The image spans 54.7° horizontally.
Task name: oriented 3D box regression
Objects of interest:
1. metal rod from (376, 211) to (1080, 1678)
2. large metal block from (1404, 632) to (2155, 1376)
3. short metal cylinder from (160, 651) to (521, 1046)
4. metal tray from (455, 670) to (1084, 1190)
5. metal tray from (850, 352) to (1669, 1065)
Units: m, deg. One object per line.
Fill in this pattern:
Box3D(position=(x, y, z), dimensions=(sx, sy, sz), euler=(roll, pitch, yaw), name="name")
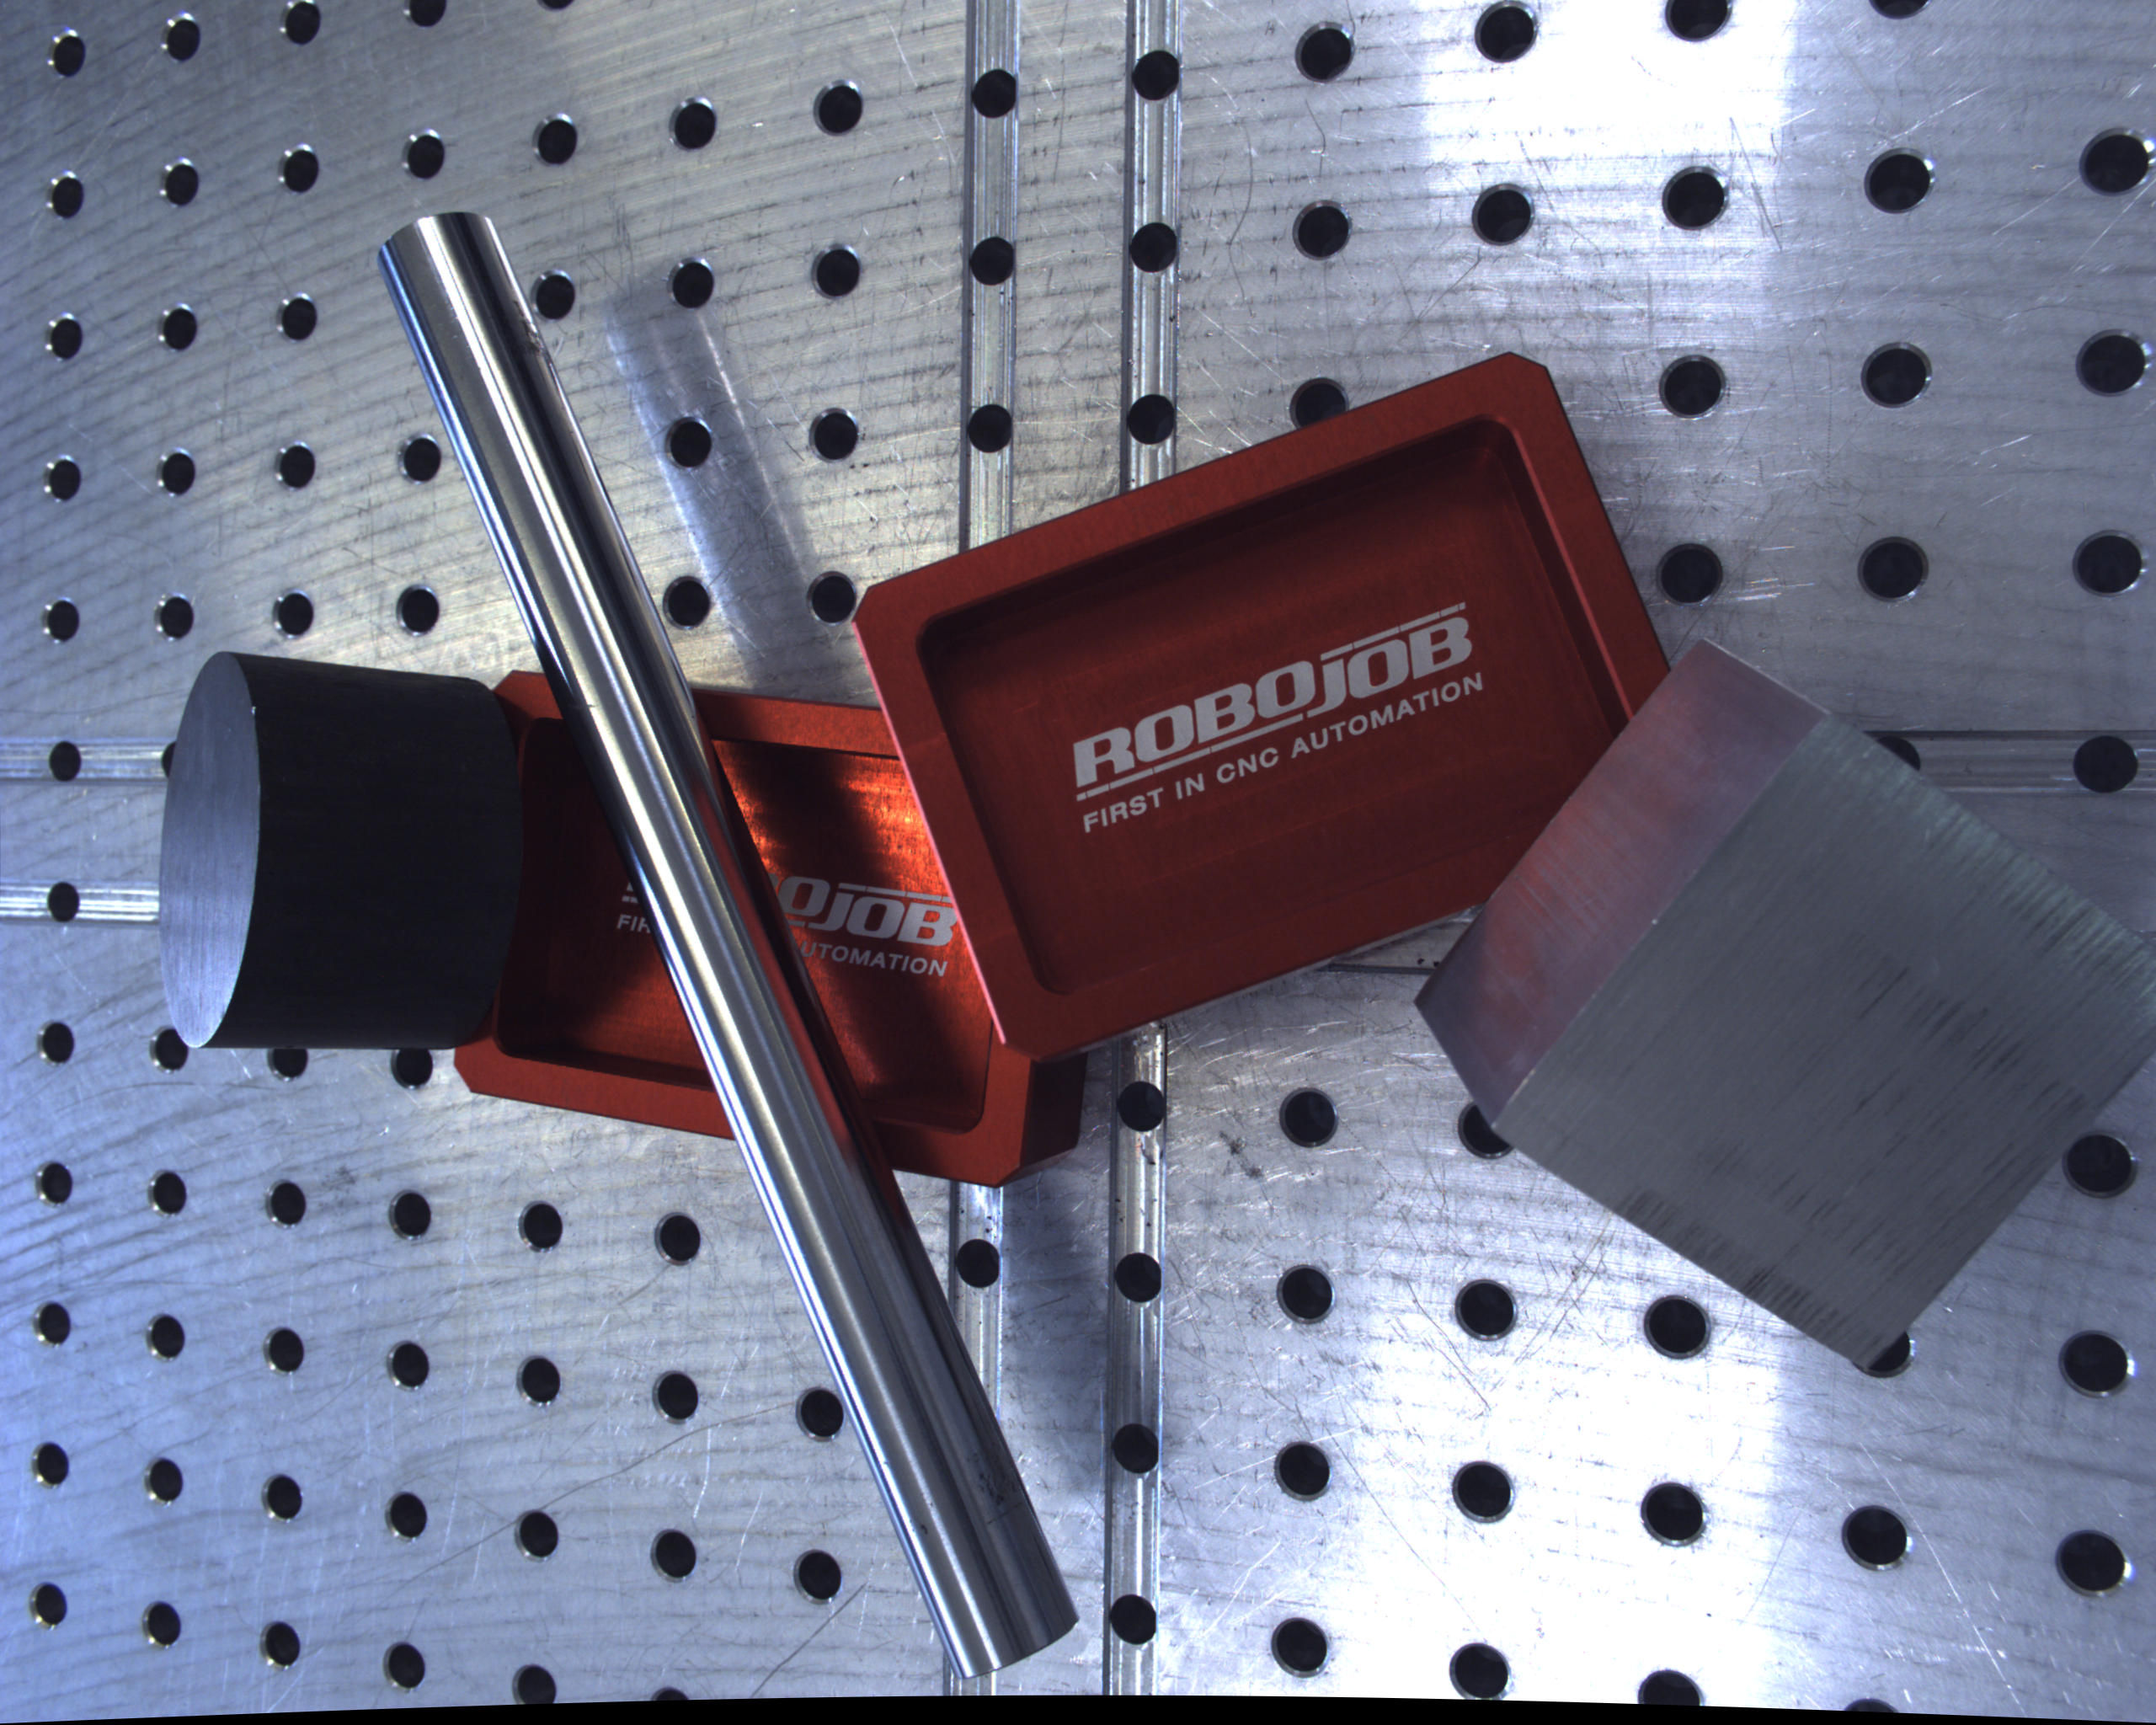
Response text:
Box3D(position=(-0.071, 0.009, 0.406), dimensions=(0.025, 0.025, 0.299), euler=(-27, 81, 18), name="metal rod")
Box3D(position=(0.115, 0.022, 0.340), dimensions=(0.080, 0.050, 0.080), euler=(33, 103, -15), name="large metal block")
Box3D(position=(-0.155, -0.001, 0.435), dimensions=(0.080, 0.050, 0.080), euler=(-8, 80, 54), name="short metal cylinder")
Box3D(position=(-0.062, 0.011, 0.431), dimensions=(0.130, 0.030, 0.089), euler=(7, 92, 19), name="metal tray")
Box3D(position=(0.036, -0.026, 0.377), dimensions=(0.131, 0.030, 0.090), euler=(-20, 83, 2), name="metal tray")
